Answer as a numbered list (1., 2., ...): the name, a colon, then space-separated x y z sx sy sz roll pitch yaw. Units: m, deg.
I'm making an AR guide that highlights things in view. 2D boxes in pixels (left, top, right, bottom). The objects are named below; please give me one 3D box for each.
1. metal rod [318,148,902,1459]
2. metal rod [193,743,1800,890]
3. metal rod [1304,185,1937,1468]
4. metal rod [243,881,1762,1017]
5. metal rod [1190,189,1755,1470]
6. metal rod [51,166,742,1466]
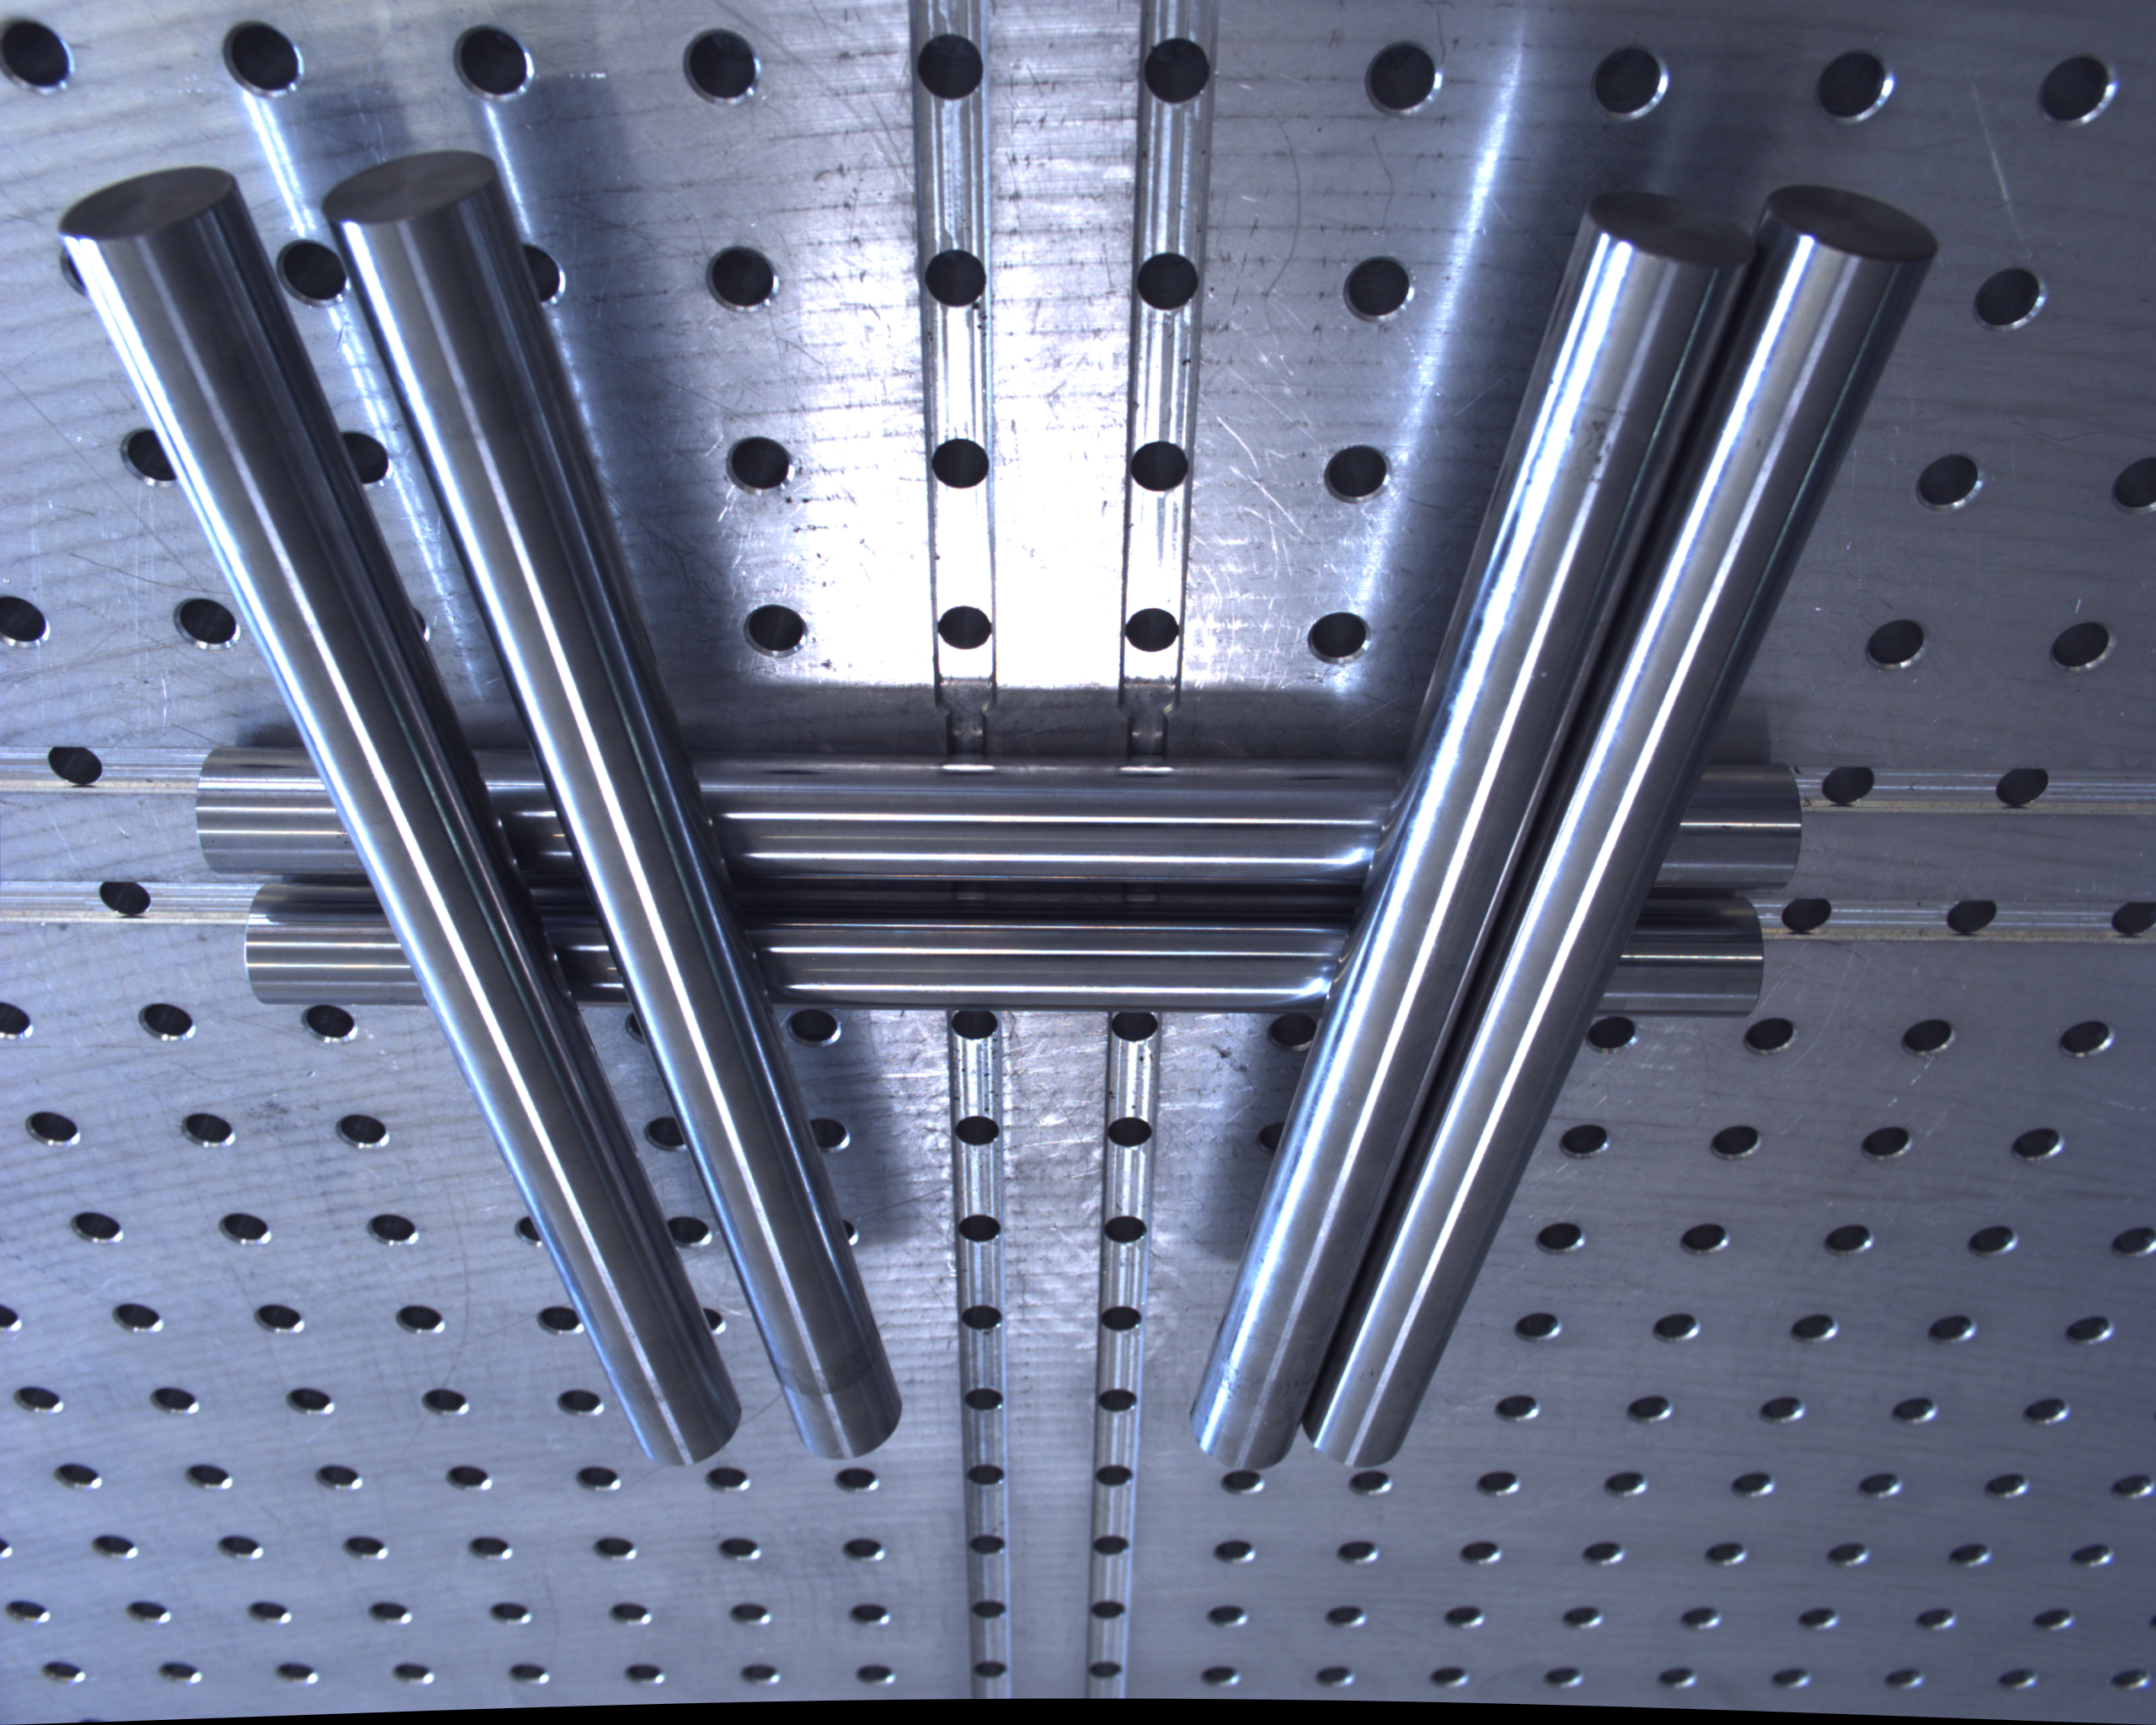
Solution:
1. metal rod: -0.075 0.016 0.392 0.025 0.025 0.299 -6 130 5
2. metal rod: -0.014 -0.009 0.405 0.302 0.025 0.025 1 130 -1
3. metal rod: 0.088 0.020 0.397 0.025 0.025 0.298 7 130 -6
4. metal rod: -0.014 0.018 0.427 0.302 0.025 0.025 1 130 -1
5. metal rod: 0.062 0.020 0.397 0.025 0.025 0.298 7 130 -6
6. metal rod: -0.112 0.018 0.394 0.025 0.025 0.299 -6 130 5
